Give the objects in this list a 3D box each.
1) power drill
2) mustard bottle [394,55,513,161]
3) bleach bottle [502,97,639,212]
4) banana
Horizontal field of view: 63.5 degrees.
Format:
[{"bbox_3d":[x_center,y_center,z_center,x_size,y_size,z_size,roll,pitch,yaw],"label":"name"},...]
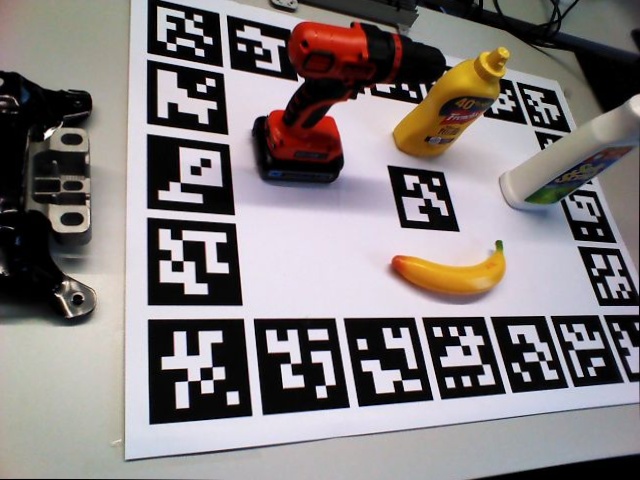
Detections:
[{"bbox_3d":[0.038,-0.161,0.590,0.184,0.188,0.057,-4,68,-23],"label":"power drill"},{"bbox_3d":[0.191,-0.182,0.712,0.096,0.193,0.058,-5,68,-29],"label":"mustard bottle"},{"bbox_3d":[0.386,-0.127,0.739,0.102,0.252,0.067,11,62,-21],"label":"bleach bottle"},{"bbox_3d":[0.190,0.039,0.682,0.197,0.039,0.074,-3,69,-24],"label":"banana"}]
